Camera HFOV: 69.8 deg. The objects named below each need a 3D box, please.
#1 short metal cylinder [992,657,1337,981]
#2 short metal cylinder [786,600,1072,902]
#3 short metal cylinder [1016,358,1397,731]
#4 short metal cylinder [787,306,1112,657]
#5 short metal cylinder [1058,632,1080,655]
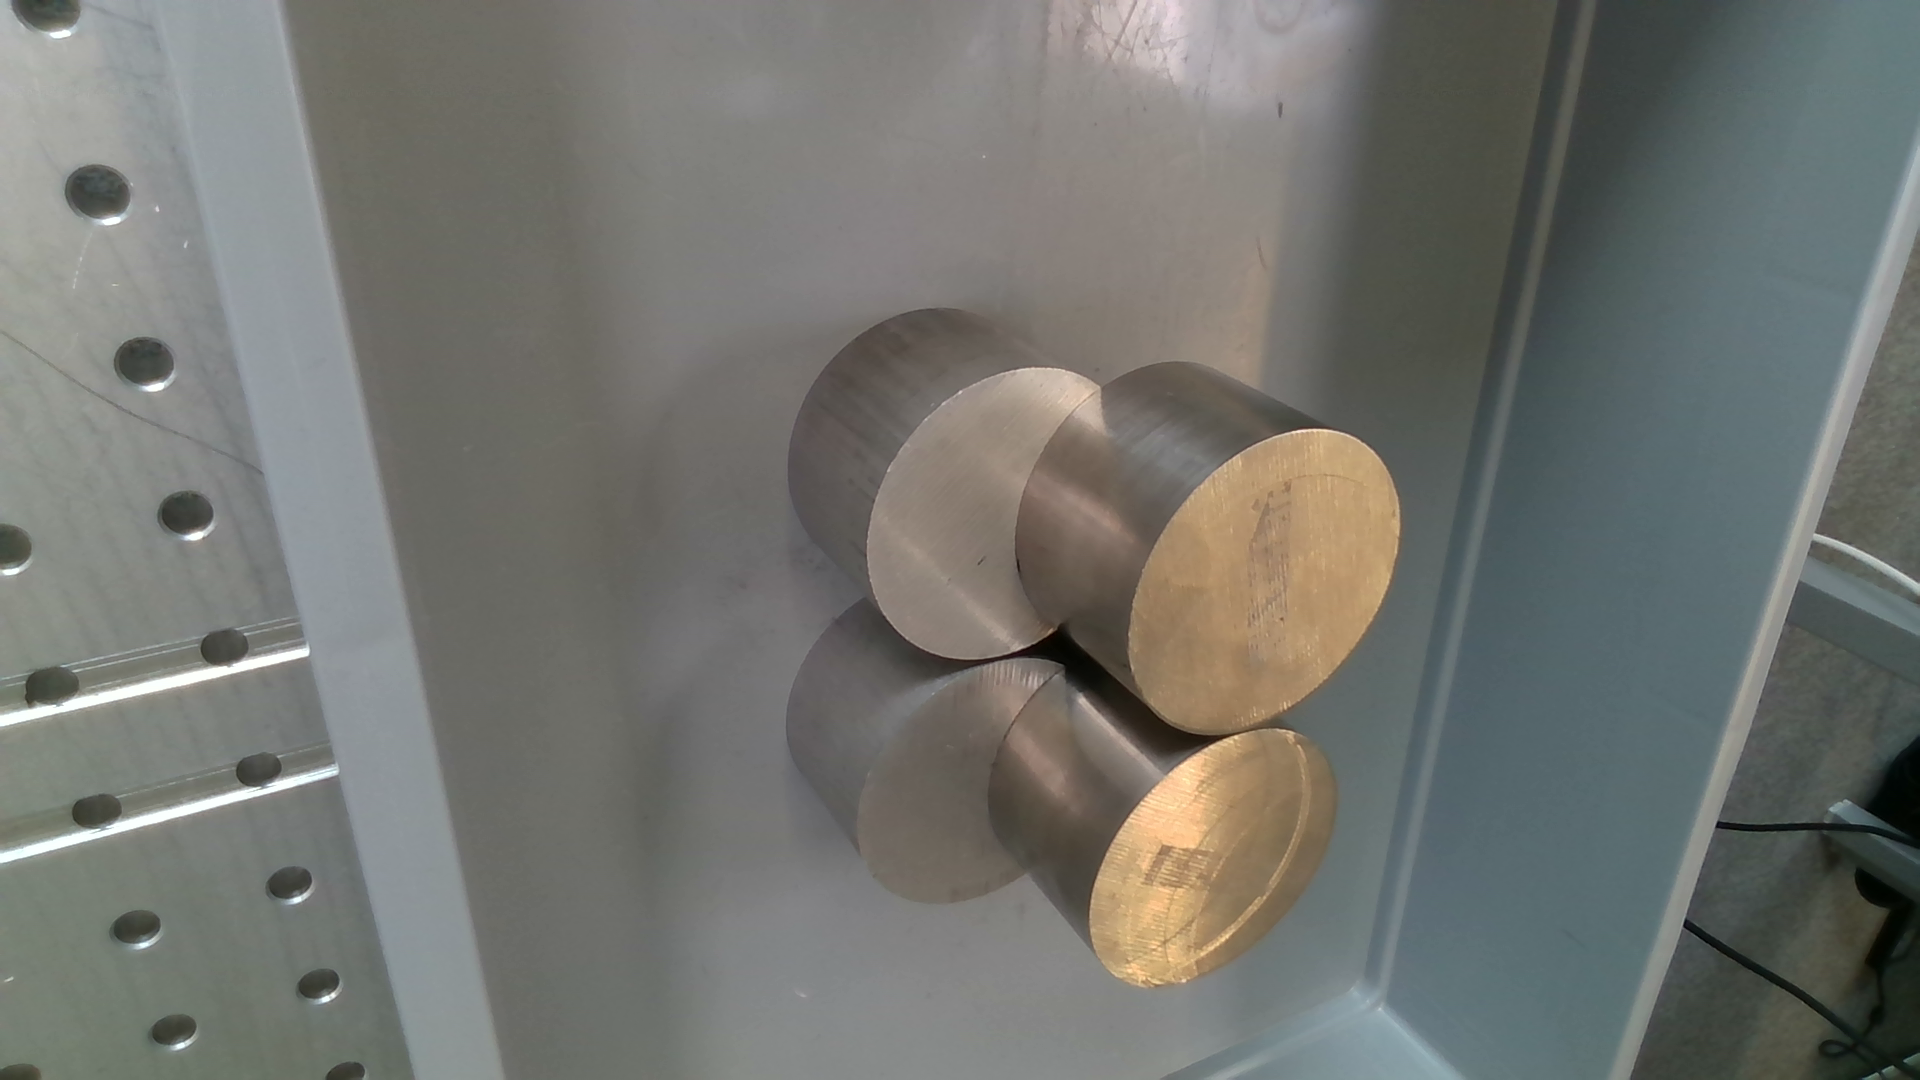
[{"bbox_3d":[0.056,0.073,0.381,0.080,0.050,0.080,-14,122,-25],"label":"short metal cylinder"},{"bbox_3d":[-0.004,0.057,0.400,0.080,0.050,0.080,-14,122,-25],"label":"short metal cylinder"},{"bbox_3d":[0.061,0.000,0.346,0.080,0.050,0.080,-14,122,-25],"label":"short metal cylinder"},{"bbox_3d":[0.001,-0.016,0.364,0.080,0.050,0.080,-14,122,-25],"label":"short metal cylinder"},{"bbox_3d":[0.060,0.008,0.413,0.080,0.050,0.080,-14,122,-25],"label":"short metal cylinder"}]
